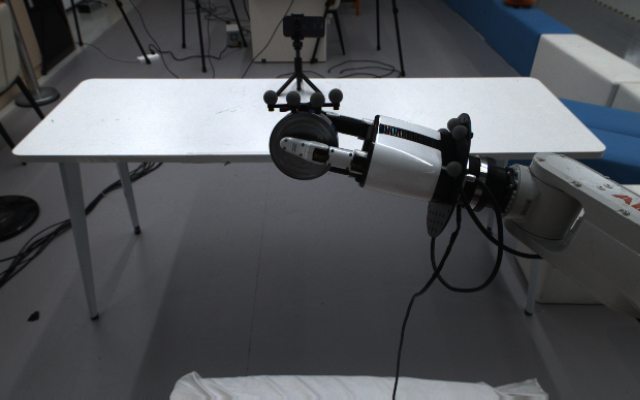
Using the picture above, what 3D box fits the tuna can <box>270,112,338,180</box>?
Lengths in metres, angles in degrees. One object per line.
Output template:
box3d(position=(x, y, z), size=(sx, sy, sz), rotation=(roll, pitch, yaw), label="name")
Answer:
box3d(position=(-0.016, -0.066, 0.605), size=(0.085, 0.085, 0.034), rotation=(4, 18, 3), label="tuna can")
